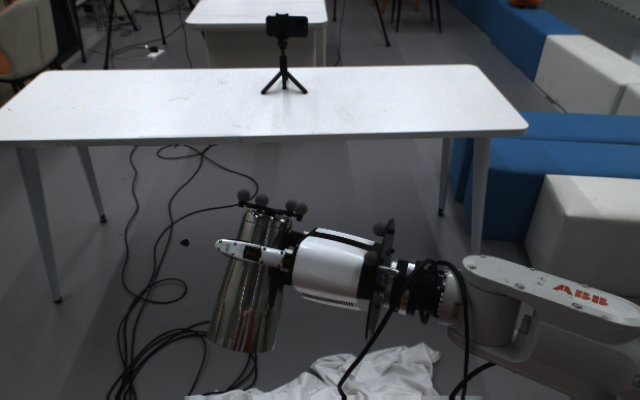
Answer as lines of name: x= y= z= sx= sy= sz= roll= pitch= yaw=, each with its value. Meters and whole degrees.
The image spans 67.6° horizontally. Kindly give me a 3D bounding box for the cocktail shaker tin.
cocktail shaker tin: x=-0.083 y=0.101 z=0.645 sx=0.093 sy=0.170 sz=0.093 roll=13 pitch=1 yaw=0
